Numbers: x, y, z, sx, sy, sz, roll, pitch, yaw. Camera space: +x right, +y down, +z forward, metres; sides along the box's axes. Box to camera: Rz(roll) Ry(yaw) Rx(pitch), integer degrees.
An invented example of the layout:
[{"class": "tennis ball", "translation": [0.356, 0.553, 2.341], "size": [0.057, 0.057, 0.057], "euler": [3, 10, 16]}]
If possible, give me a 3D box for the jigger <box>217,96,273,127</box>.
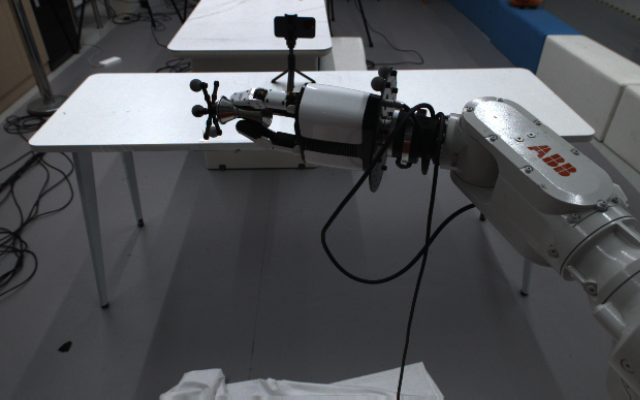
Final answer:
[{"class": "jigger", "translation": [-0.102, -0.129, 0.680], "size": [0.071, 0.043, 0.043], "euler": [4, 34, 13]}]
